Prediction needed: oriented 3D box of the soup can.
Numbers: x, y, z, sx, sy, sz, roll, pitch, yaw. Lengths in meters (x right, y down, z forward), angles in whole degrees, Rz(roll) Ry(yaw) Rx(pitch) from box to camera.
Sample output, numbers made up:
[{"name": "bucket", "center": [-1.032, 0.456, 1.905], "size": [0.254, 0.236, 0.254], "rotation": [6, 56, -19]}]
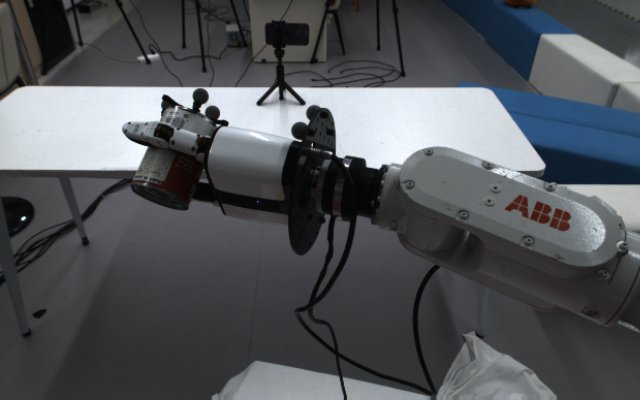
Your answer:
[{"name": "soup can", "center": [-0.164, -0.047, 0.555], "size": [0.067, 0.067, 0.101], "rotation": [12, 71, 14]}]
